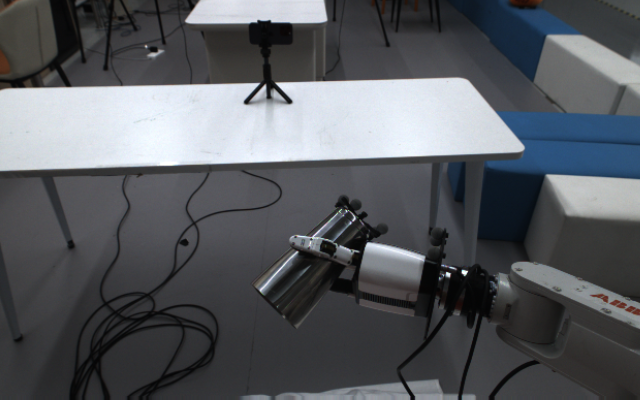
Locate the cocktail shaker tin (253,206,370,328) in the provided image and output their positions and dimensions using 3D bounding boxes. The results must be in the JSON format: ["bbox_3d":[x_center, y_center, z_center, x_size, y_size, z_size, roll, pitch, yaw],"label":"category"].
[{"bbox_3d":[-0.008,0.085,0.701,0.170,0.093,0.093,-43,50,-14],"label":"cocktail shaker tin"}]
